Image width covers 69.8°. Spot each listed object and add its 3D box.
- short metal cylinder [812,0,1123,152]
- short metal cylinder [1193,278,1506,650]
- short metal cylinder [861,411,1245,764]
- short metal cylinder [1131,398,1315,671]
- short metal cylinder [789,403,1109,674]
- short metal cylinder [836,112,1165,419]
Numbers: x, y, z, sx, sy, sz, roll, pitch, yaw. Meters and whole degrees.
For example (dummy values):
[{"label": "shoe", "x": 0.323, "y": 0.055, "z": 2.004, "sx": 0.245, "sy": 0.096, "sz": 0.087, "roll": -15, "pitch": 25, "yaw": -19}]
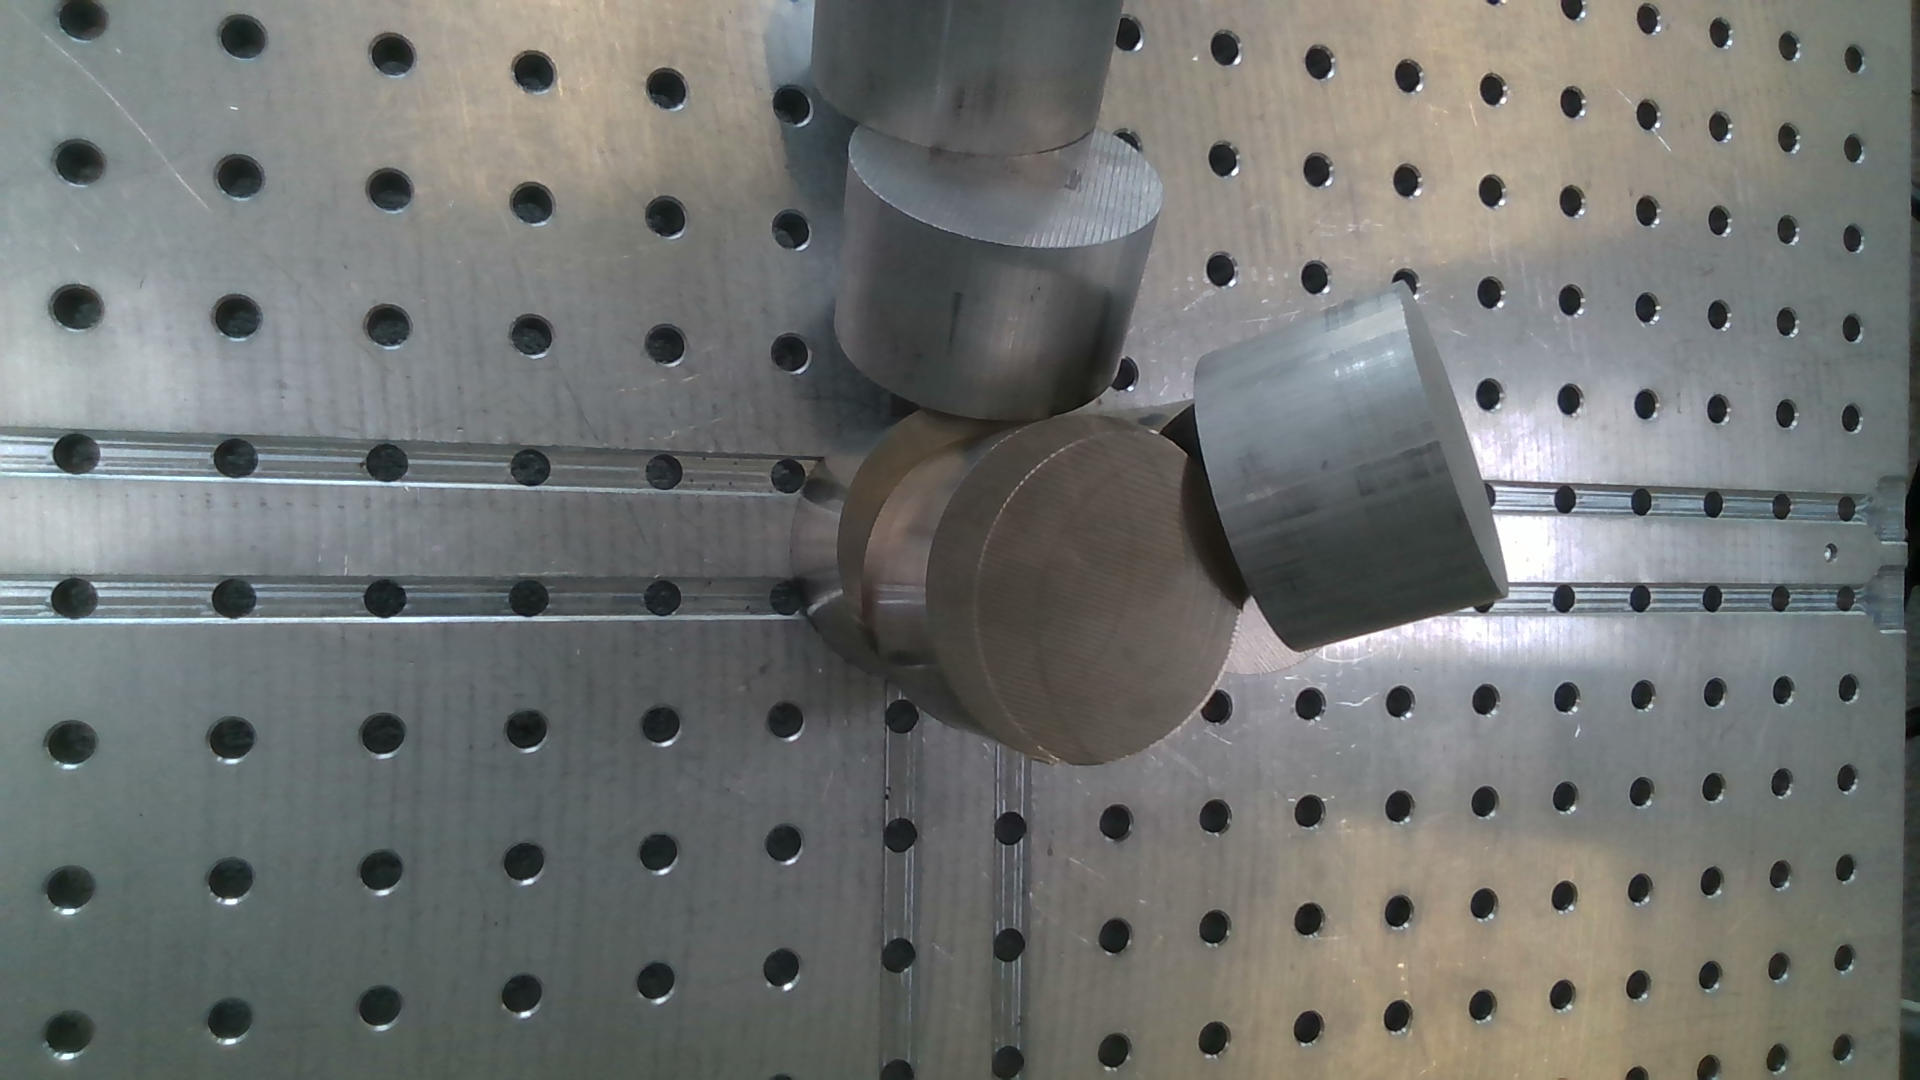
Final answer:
[{"label": "short metal cylinder", "x": 0.003, "y": -0.144, "z": 0.361, "sx": 0.080, "sy": 0.080, "sz": 0.050, "roll": -8, "pitch": 135, "yaw": -20}, {"label": "short metal cylinder", "x": 0.097, "y": -0.018, "z": 0.342, "sx": 0.050, "sy": 0.080, "sz": 0.080, "roll": -19, "pitch": 99, "yaw": 24}, {"label": "short metal cylinder", "x": 0.021, "y": 0.011, "z": 0.336, "sx": 0.080, "sy": 0.050, "sz": 0.080, "roll": 0, "pitch": 90, "yaw": -20}, {"label": "short metal cylinder", "x": 0.074, "y": -0.003, "z": 0.410, "sx": 0.080, "sy": 0.050, "sz": 0.080, "roll": 0, "pitch": 90, "yaw": -20}, {"label": "short metal cylinder", "x": -0.002, "y": 0.002, "z": 0.382, "sx": 0.080, "sy": 0.050, "sz": 0.080, "roll": 0, "pitch": 90, "yaw": -20}, {"label": "short metal cylinder", "x": 0.009, "y": -0.076, "z": 0.362, "sx": 0.080, "sy": 0.080, "sz": 0.050, "roll": -7, "pitch": 134, "yaw": -20}]
